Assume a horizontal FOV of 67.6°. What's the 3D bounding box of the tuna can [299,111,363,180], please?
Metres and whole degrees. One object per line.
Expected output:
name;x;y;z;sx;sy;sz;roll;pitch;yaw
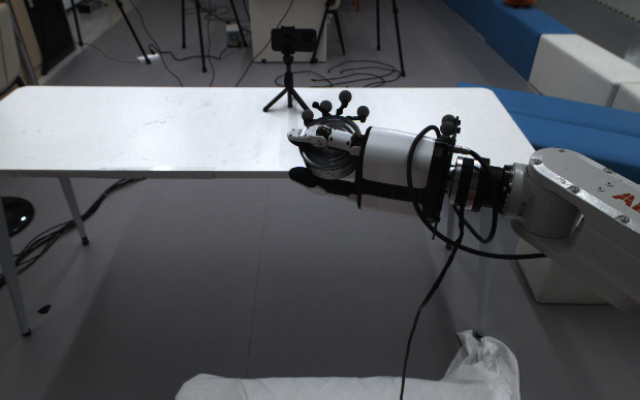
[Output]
tuna can;0.016;-0.071;0.658;0.085;0.034;0.085;-6;61;10
